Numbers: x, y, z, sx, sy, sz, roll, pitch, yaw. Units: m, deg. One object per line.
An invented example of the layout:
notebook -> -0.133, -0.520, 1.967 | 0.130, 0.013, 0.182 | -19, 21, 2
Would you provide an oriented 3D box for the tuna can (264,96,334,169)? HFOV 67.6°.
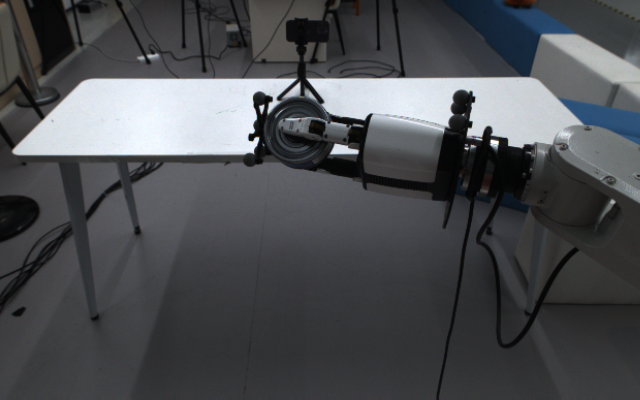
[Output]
tuna can -> -0.022, -0.084, 0.599 | 0.085, 0.085, 0.034 | 9, -6, 10
